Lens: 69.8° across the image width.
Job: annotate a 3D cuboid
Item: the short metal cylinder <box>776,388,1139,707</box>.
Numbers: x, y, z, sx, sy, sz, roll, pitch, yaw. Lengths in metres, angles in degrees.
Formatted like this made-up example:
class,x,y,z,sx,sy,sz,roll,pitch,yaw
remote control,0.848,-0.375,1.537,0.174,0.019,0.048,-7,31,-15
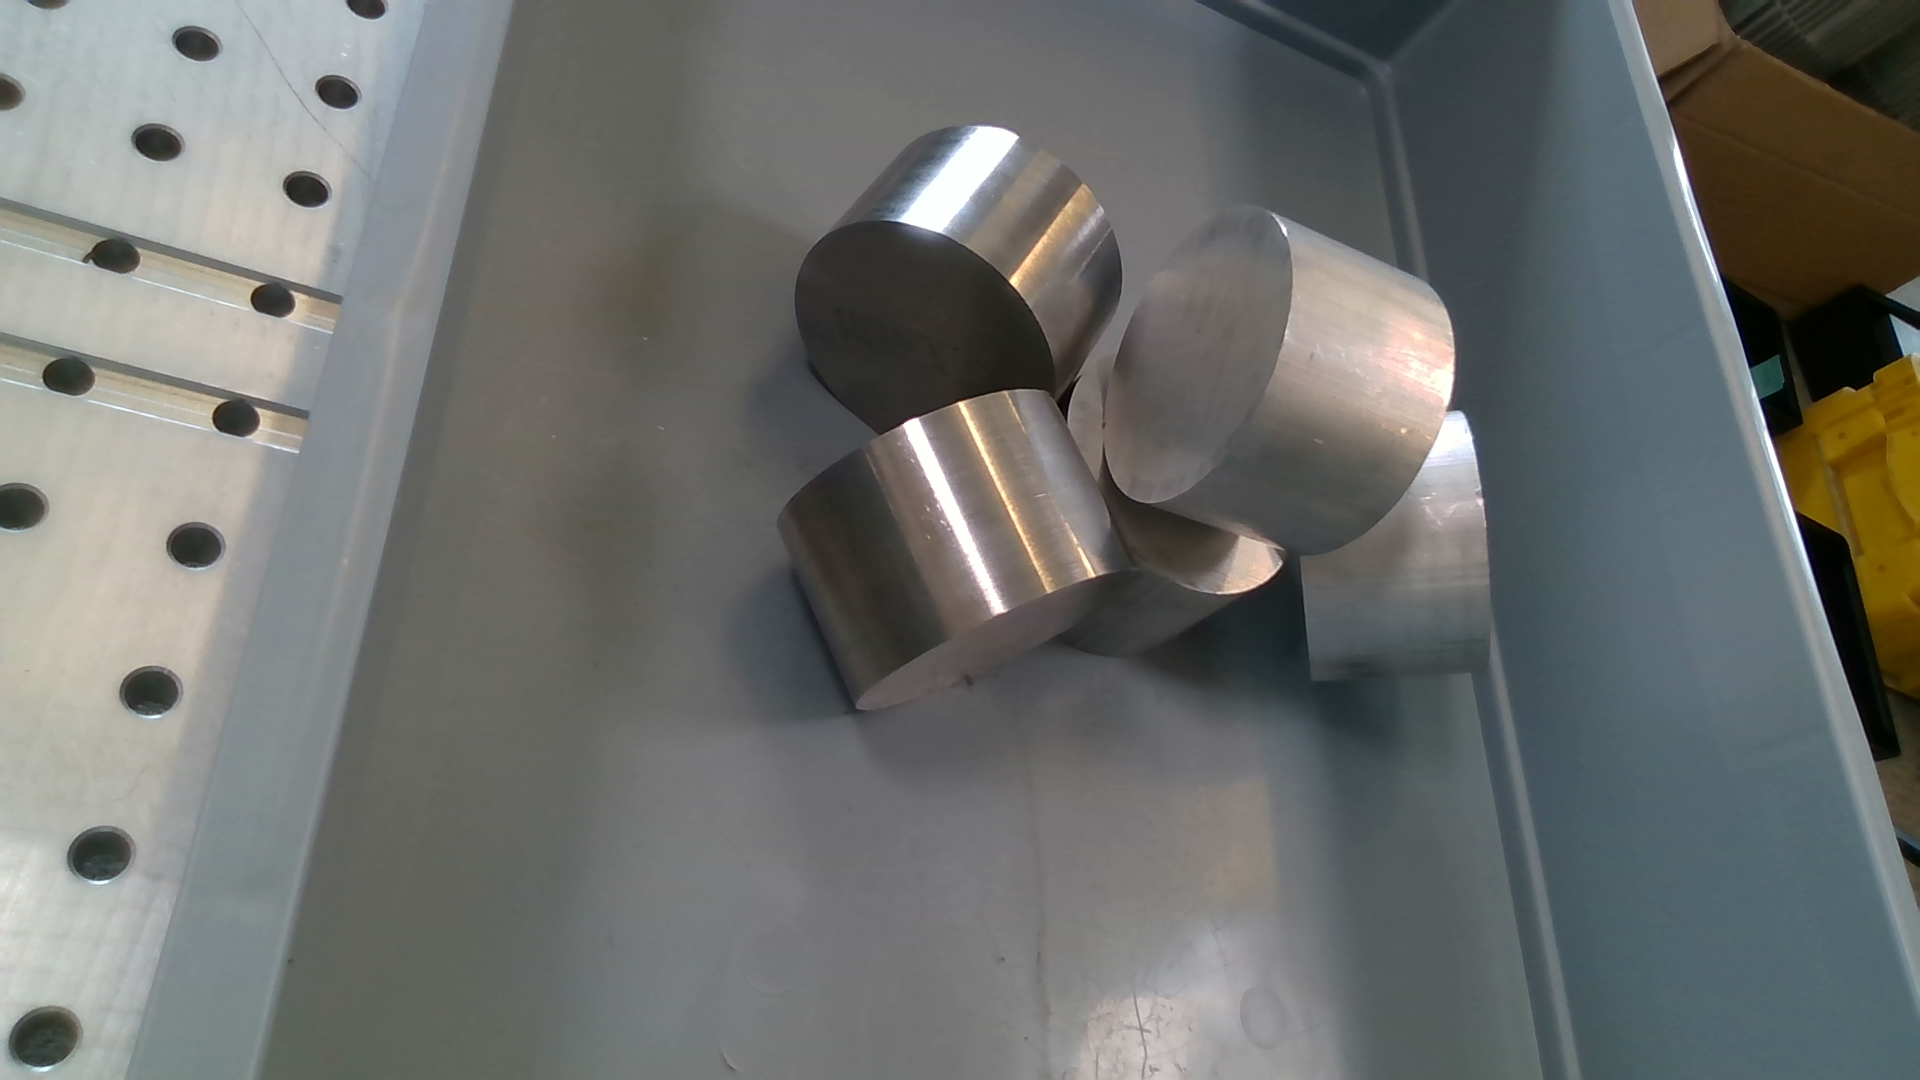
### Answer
class,x,y,z,sx,sy,sz,roll,pitch,yaw
short metal cylinder,0.000,0.004,0.354,0.080,0.080,0.050,-16,74,-37

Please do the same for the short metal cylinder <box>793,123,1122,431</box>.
class,x,y,z,sx,sy,sz,roll,pitch,yaw
short metal cylinder,0.000,-0.070,0.393,0.080,0.080,0.050,39,51,-8

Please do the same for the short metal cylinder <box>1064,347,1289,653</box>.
class,x,y,z,sx,sy,sz,roll,pitch,yaw
short metal cylinder,0.054,-0.012,0.414,0.080,0.050,0.080,14,59,-25

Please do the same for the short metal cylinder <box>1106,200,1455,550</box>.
class,x,y,z,sx,sy,sz,roll,pitch,yaw
short metal cylinder,0.082,-0.042,0.364,0.050,0.080,0.080,17,57,-23

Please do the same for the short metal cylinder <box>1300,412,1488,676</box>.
class,x,y,z,sx,sy,sz,roll,pitch,yaw
short metal cylinder,0.132,0.002,0.428,0.050,0.080,0.080,-4,59,14
